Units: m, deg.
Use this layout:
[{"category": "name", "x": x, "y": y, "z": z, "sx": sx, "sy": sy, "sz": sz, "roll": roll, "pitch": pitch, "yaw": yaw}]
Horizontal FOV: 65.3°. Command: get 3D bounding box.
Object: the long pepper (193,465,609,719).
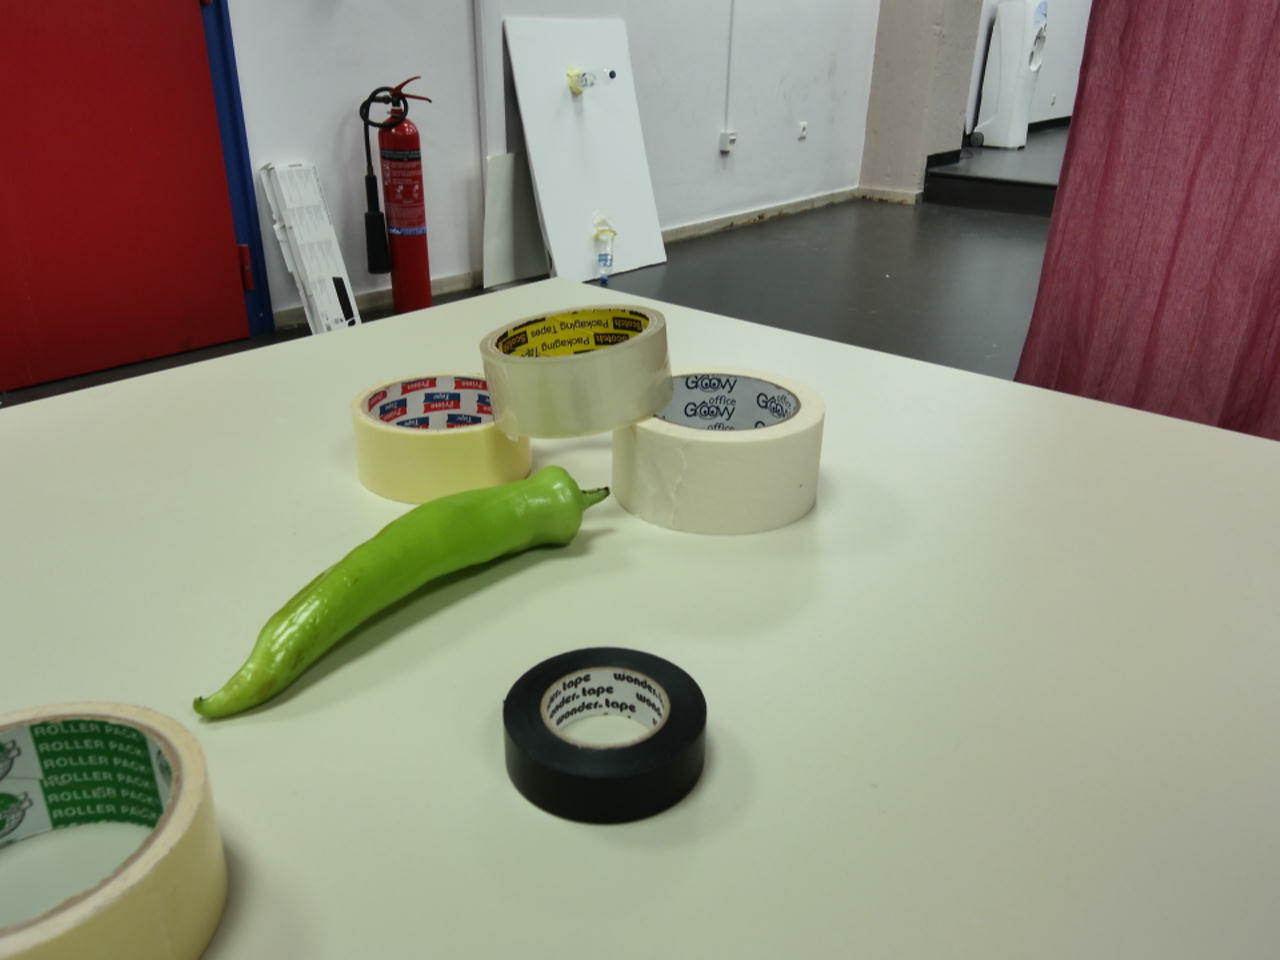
[{"category": "long pepper", "x": -0.090, "y": 0.033, "z": 0.399, "sx": 0.047, "sy": 0.038, "sz": 0.197, "roll": 19, "pitch": 29, "yaw": 37}]
